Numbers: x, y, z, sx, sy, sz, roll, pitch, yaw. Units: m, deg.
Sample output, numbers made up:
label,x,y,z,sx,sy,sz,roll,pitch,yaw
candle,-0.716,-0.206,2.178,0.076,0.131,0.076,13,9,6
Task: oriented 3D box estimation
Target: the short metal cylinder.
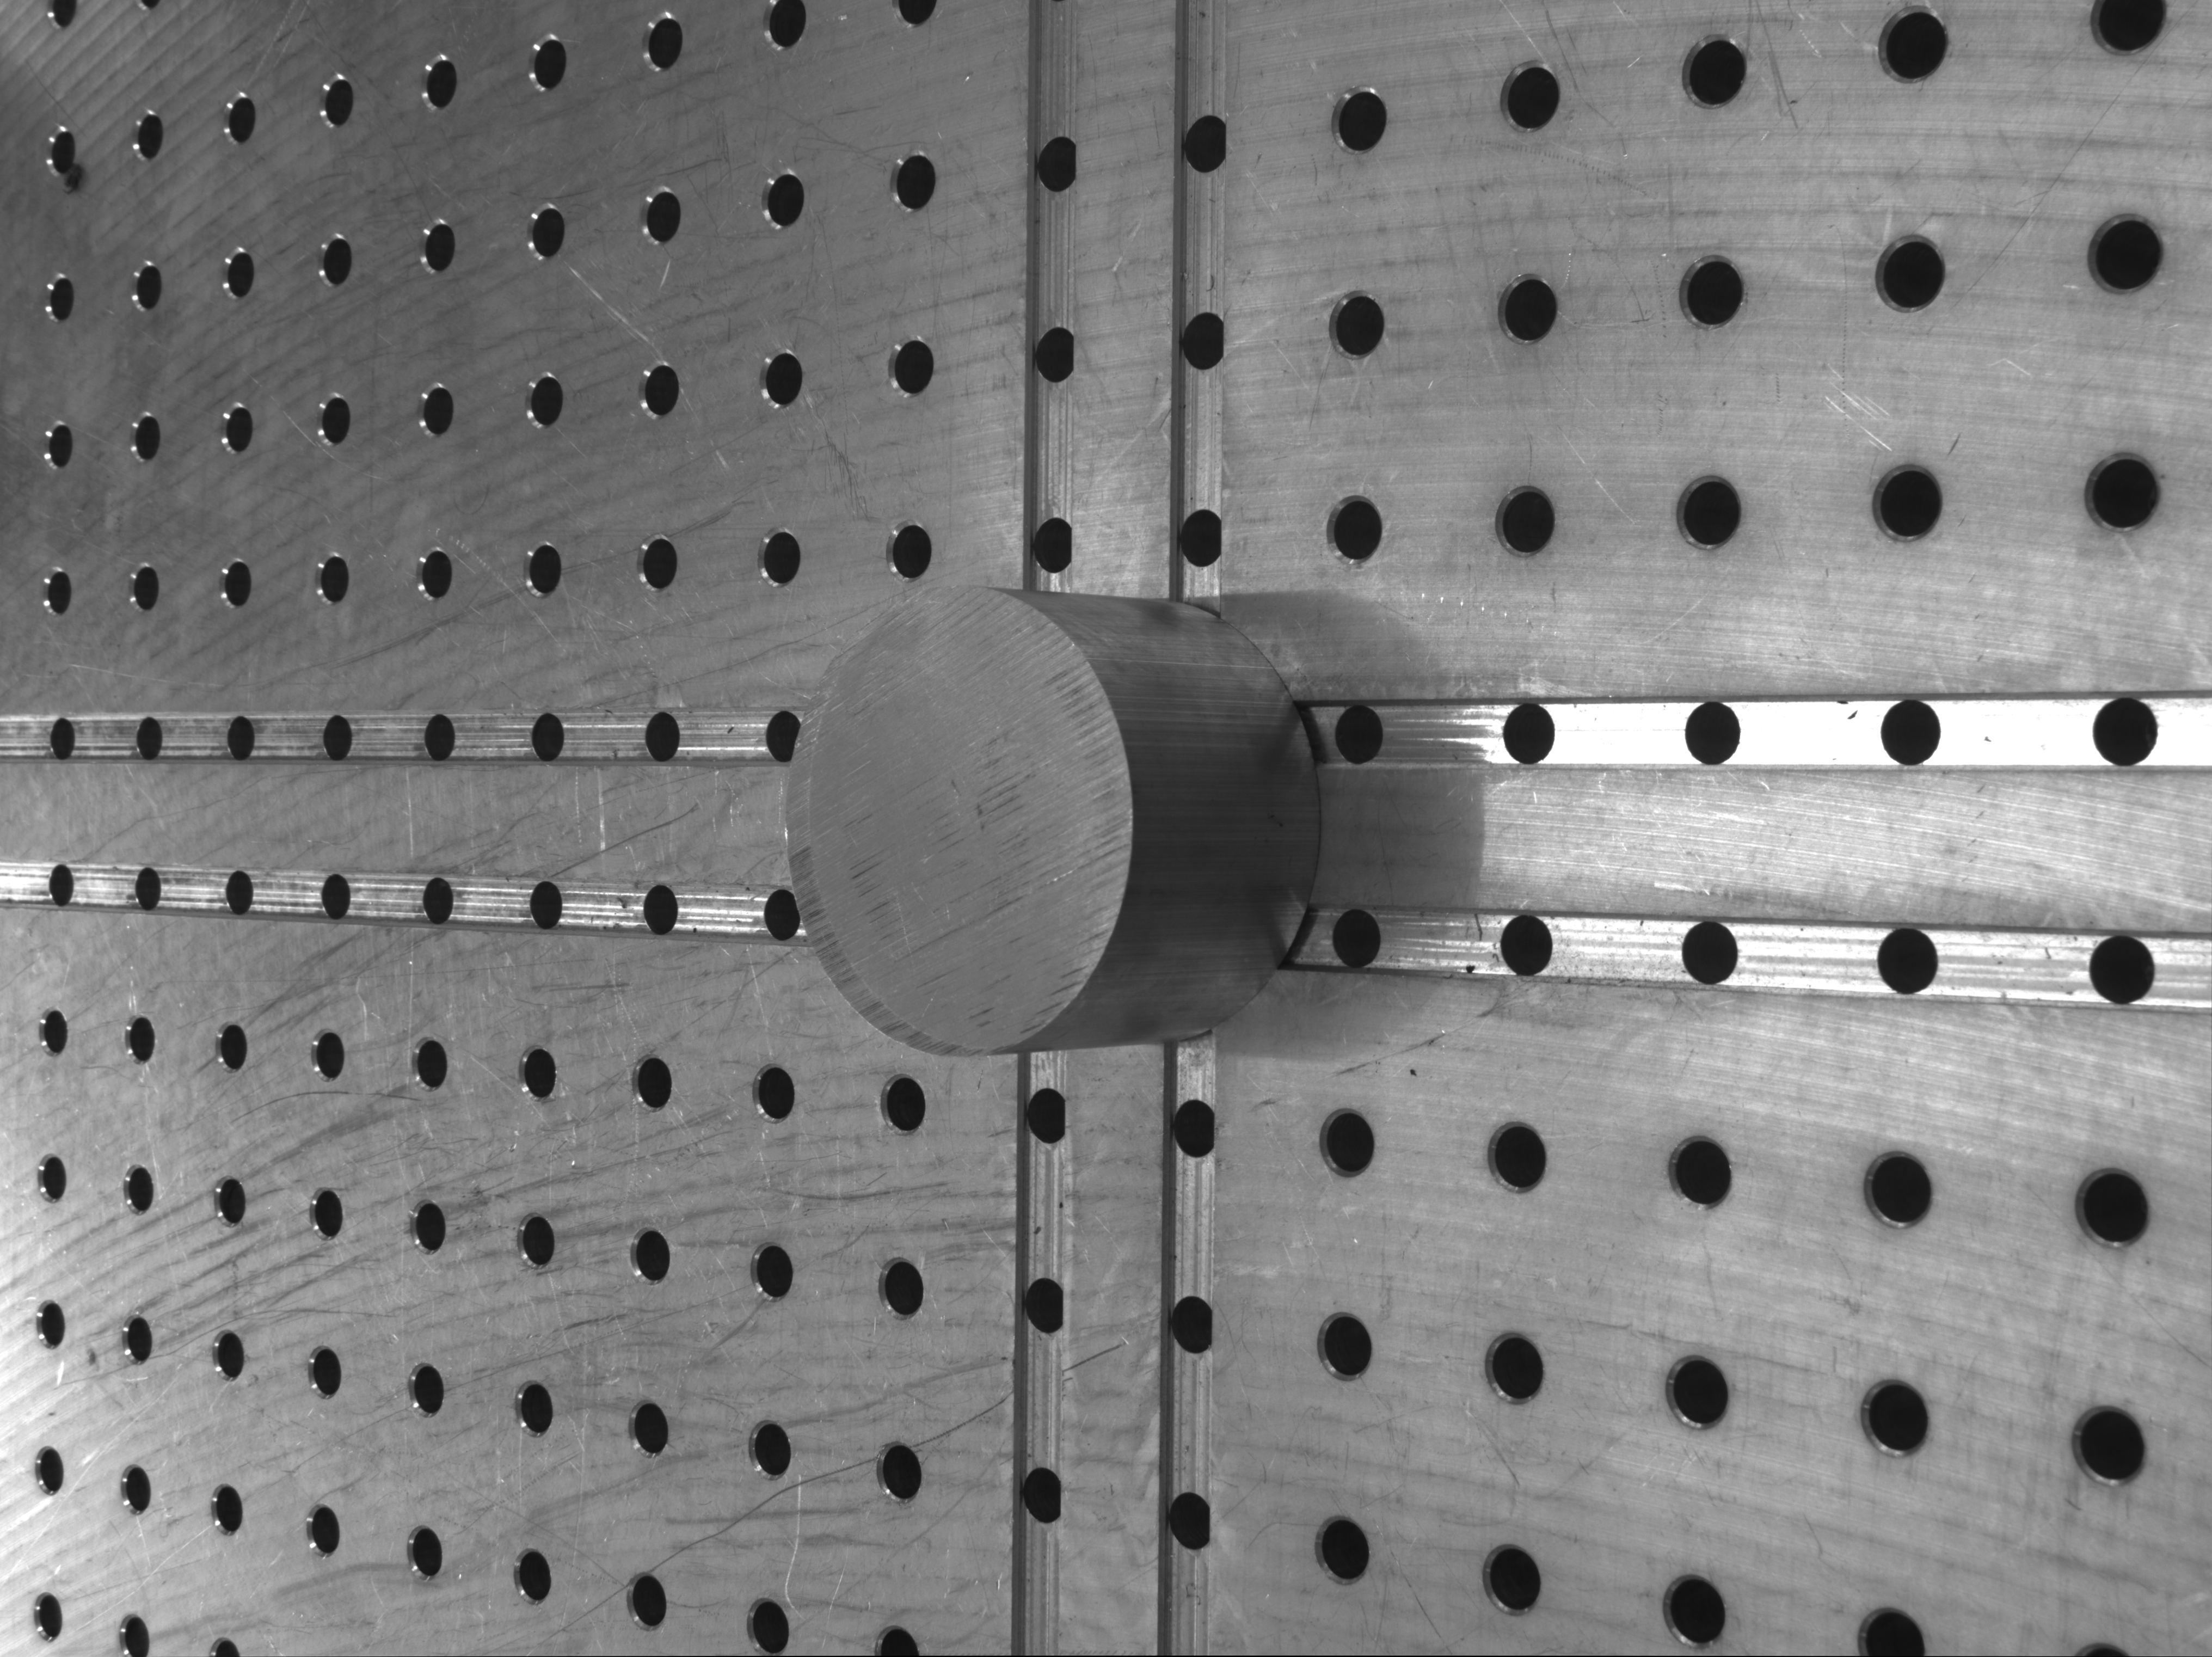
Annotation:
label,x,y,z,sx,sy,sz,roll,pitch,yaw
short metal cylinder,-0.010,-0.001,0.641,0.080,0.050,0.080,0,90,40
